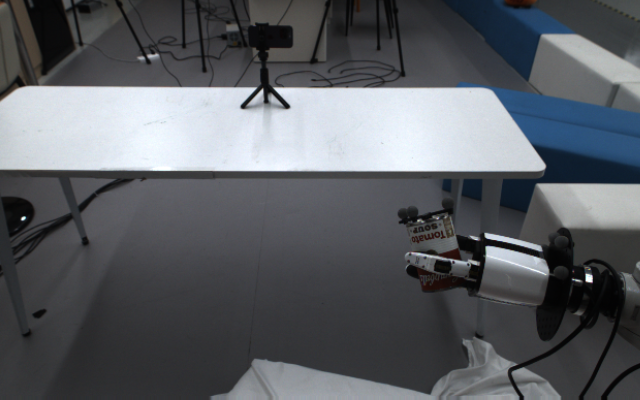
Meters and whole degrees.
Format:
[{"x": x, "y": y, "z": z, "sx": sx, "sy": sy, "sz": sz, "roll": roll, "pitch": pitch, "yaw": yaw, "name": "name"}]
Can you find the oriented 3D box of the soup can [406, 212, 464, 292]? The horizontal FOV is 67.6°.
[{"x": 0.170, "y": 0.075, "z": 0.706, "sx": 0.067, "sy": 0.101, "sz": 0.067, "roll": -14, "pitch": -2, "yaw": -1, "name": "soup can"}]
